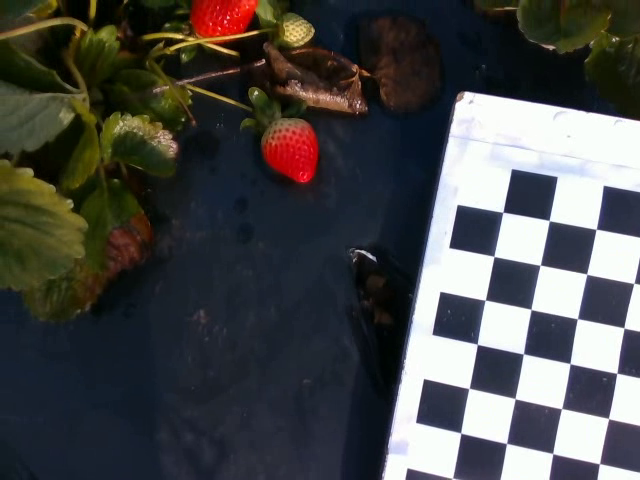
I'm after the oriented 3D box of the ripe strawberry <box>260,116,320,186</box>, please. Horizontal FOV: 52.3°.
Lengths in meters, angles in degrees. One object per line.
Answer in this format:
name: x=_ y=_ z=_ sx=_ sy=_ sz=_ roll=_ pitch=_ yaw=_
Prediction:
ripe strawberry: x=-0.016 y=-0.049 z=0.351 sx=0.035 sy=0.043 sz=0.030 roll=-26 pitch=-9 yaw=1
